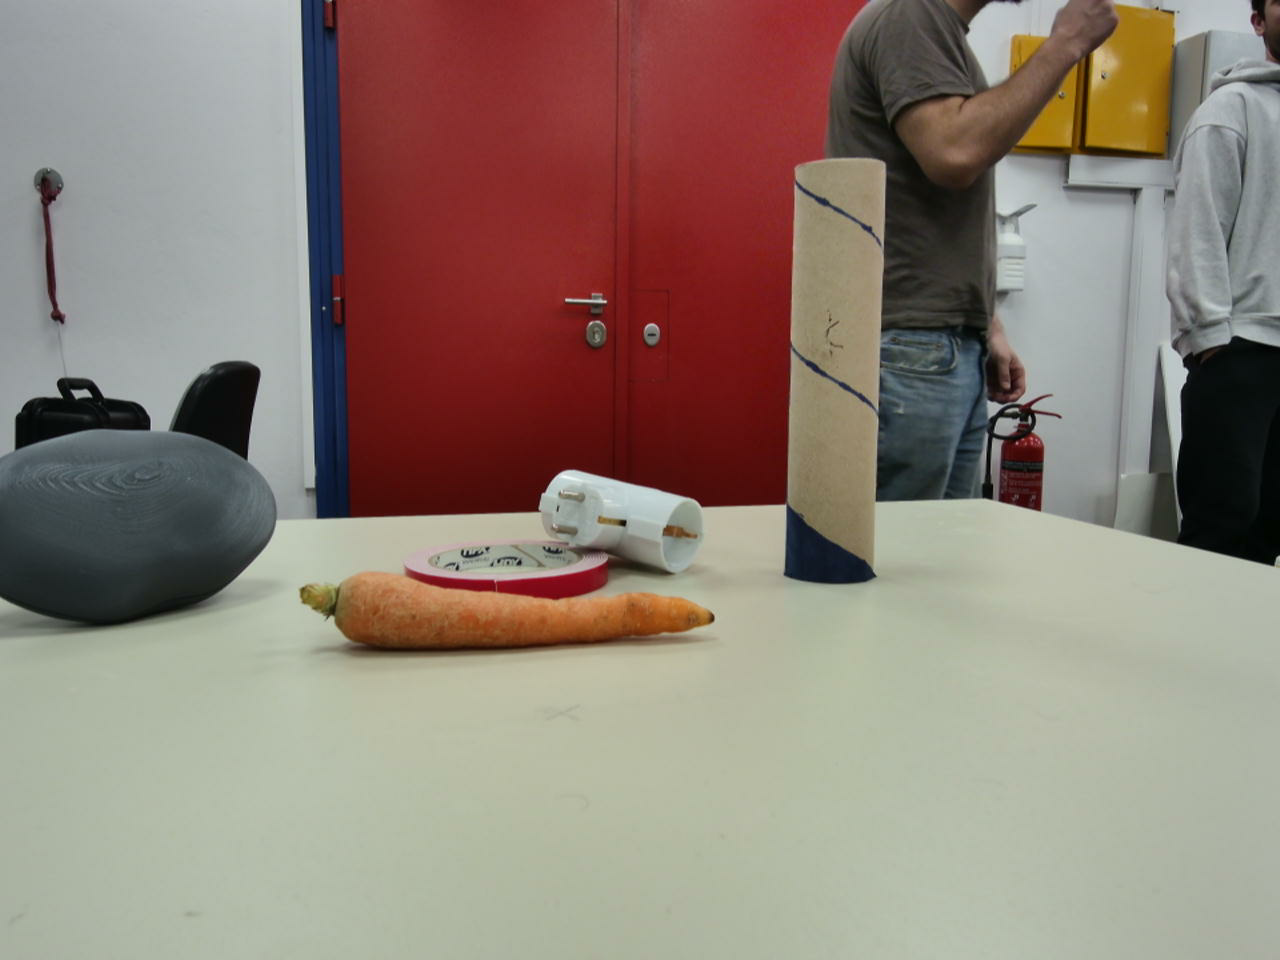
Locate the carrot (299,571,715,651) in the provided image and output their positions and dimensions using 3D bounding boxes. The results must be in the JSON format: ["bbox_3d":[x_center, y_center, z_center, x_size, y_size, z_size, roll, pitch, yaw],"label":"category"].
[{"bbox_3d":[-0.053,0.053,0.418,0.173,0.032,0.030,0,4,-4],"label":"carrot"}]
